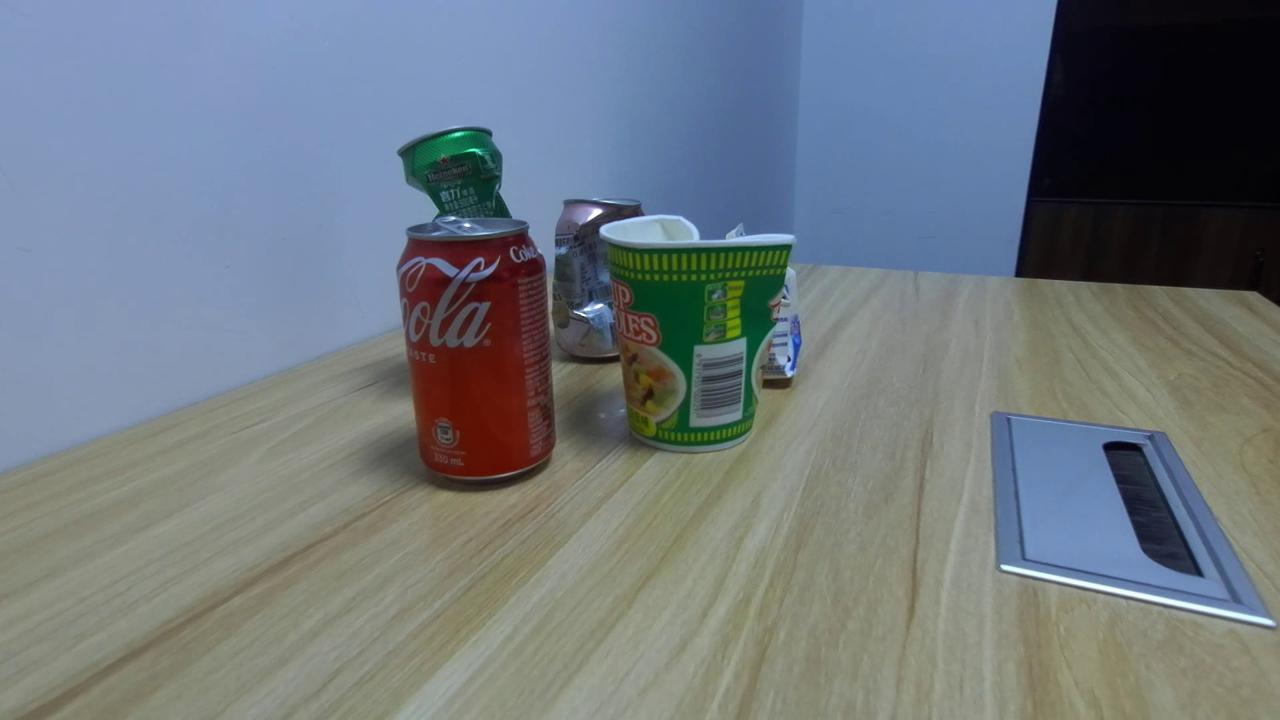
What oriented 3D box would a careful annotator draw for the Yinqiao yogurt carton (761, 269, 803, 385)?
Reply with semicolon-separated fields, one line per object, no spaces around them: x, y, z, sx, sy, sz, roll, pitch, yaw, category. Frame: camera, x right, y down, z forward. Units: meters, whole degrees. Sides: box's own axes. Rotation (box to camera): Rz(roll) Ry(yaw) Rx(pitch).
0.066;-0.039;0.460;0.071;0.094;0.077;-3;18;16;Yinqiao yogurt carton

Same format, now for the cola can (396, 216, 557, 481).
-0.077;-0.006;0.341;0.068;0.120;0.068;-2;16;1;cola can

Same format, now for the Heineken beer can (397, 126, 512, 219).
-0.097;-0.055;0.422;0.078;0.159;0.067;2;17;27;Heineken beer can

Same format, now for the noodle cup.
0.023;-0.015;0.369;0.087;0.109;0.093;-6;19;-15;noodle cup

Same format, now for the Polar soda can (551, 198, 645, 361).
-0.026;-0.058;0.503;0.070;0.114;0.074;1;19;-8;Polar soda can
